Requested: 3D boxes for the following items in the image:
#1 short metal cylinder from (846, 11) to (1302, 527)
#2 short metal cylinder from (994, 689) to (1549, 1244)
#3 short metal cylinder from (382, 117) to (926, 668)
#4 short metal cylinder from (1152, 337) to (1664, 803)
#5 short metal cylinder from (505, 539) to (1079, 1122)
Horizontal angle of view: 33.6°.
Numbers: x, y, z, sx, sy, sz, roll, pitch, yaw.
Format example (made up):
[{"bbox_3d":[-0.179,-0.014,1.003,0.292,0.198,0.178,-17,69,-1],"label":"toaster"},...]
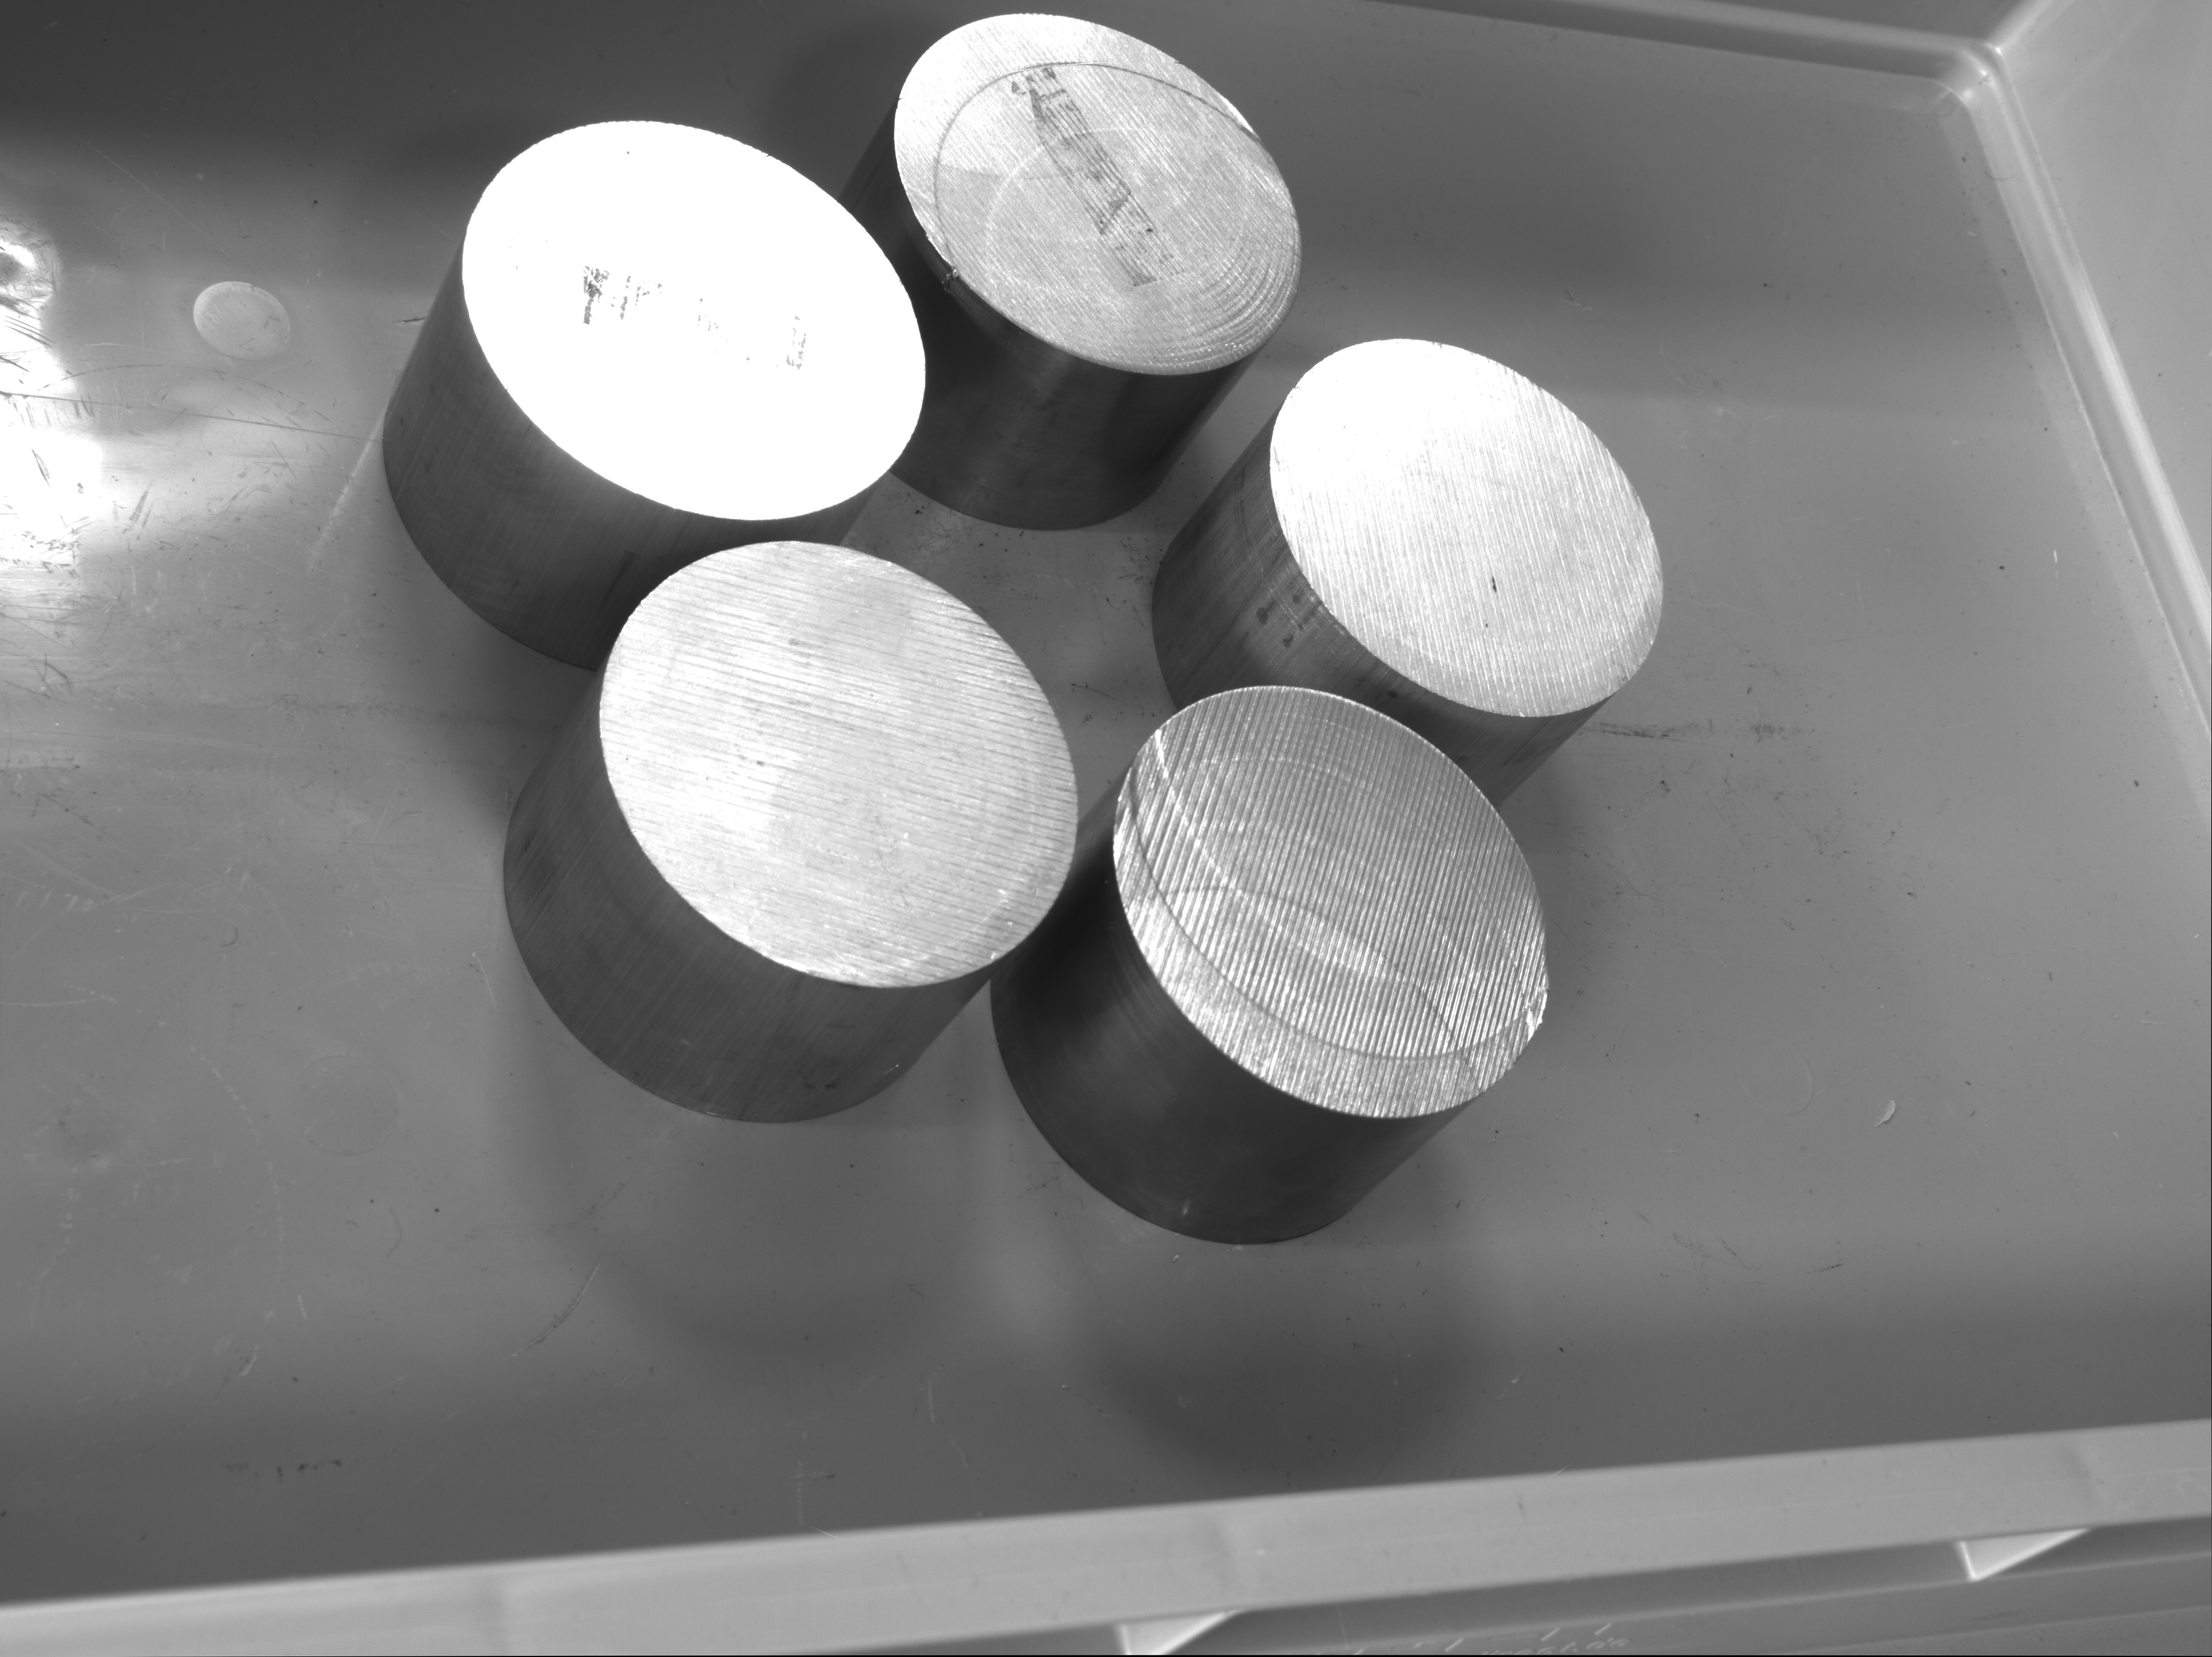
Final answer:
[{"bbox_3d":[-0.011,-0.103,0.678,0.080,0.050,0.080,14,56,-21],"label":"short metal cylinder"},{"bbox_3d":[0.028,0.024,0.621,0.080,0.050,0.080,14,56,-21],"label":"short metal cylinder"},{"bbox_3d":[-0.077,-0.073,0.624,0.080,0.050,0.080,14,56,-21],"label":"short metal cylinder"},{"bbox_3d":[0.055,-0.043,0.677,0.080,0.050,0.080,14,56,-21],"label":"short metal cylinder"},{"bbox_3d":[-0.051,0.001,0.593,0.080,0.050,0.080,14,56,-21],"label":"short metal cylinder"}]
